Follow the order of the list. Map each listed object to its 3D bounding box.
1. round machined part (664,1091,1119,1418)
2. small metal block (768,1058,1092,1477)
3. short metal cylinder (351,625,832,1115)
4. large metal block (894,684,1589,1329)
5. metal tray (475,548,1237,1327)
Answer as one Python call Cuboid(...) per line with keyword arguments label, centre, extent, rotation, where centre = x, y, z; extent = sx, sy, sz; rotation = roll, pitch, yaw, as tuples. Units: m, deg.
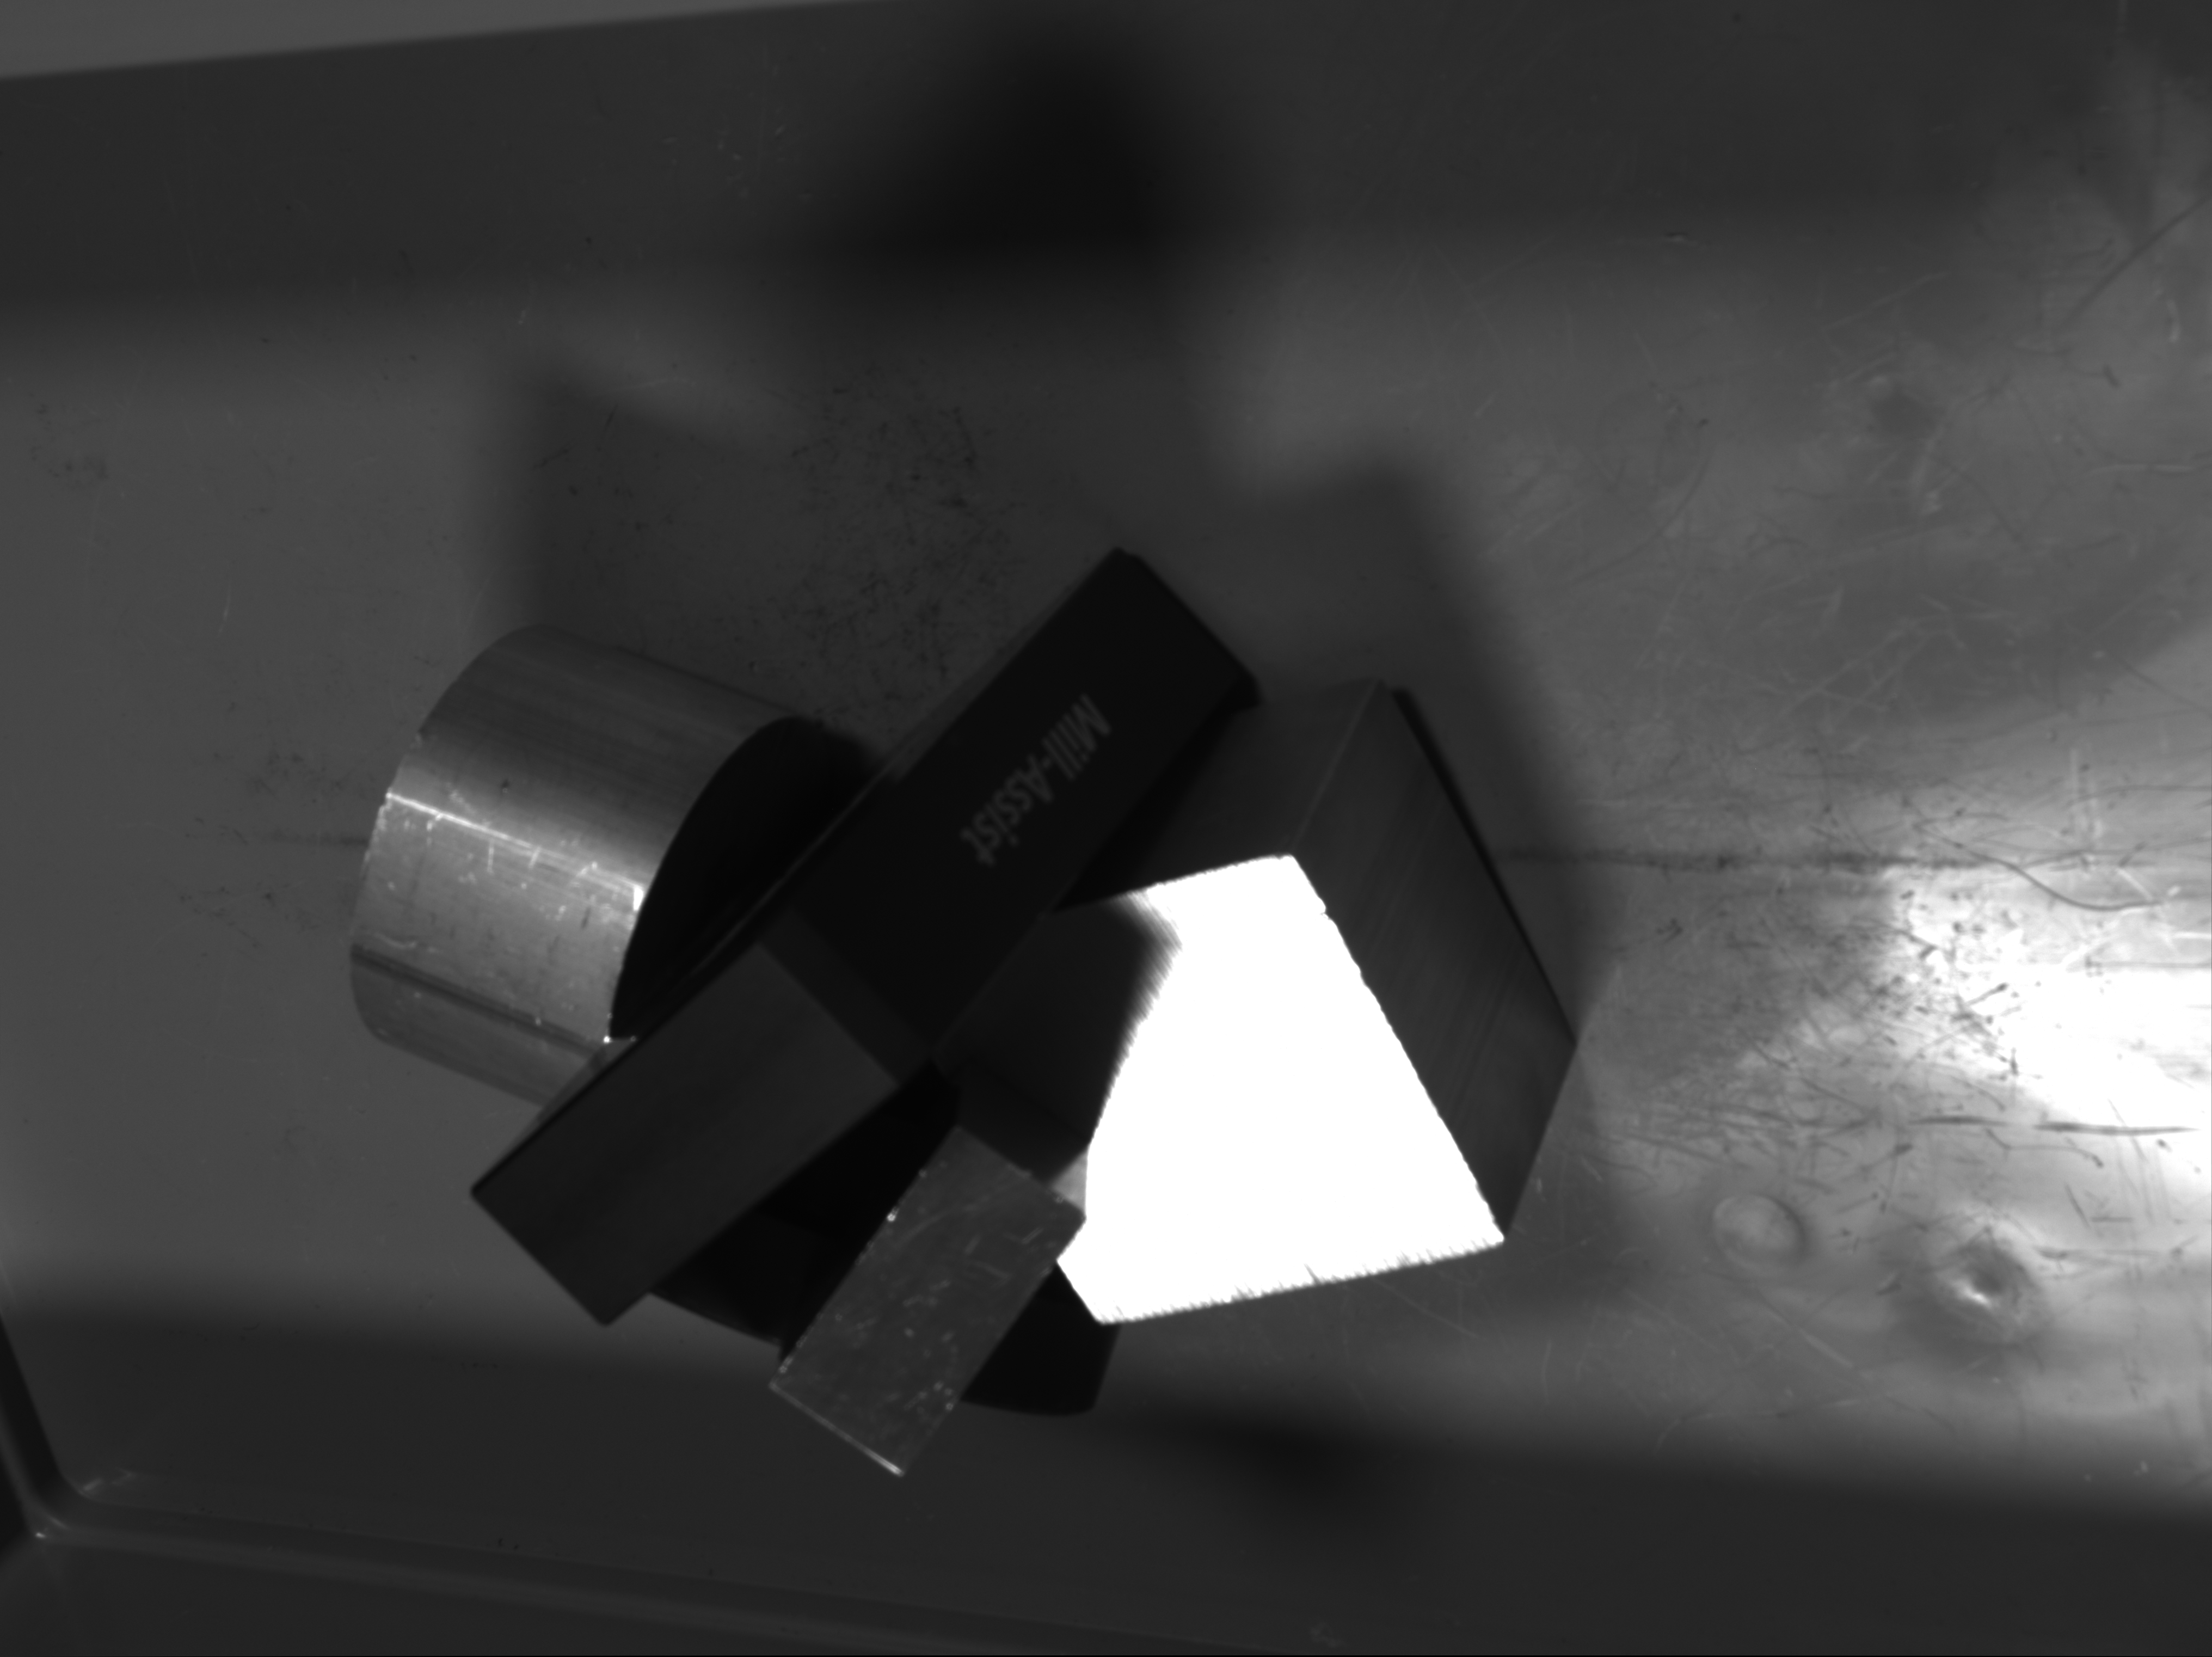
Cuboid(label="round machined part", centre=(-0.042, 0.069, 0.658), extent=(0.098, 0.098, 0.042), rotation=(19, 89, 16))
Cuboid(label="small metal block", centre=(-0.027, 0.069, 0.582), extent=(0.025, 0.050, 0.050), rotation=(35, 96, -5))
Cuboid(label="short metal cylinder", centre=(-0.089, 0.010, 0.645), extent=(0.050, 0.080, 0.080), rotation=(20, 125, 15))
Cuboid(label="large metal block", centre=(0.022, 0.031, 0.612), extent=(0.080, 0.050, 0.080), rotation=(-15, 115, 33))
Cuboid(label="metal tray", centre=(-0.038, 0.015, 0.591), extent=(0.030, 0.130, 0.090), rotation=(46, 128, -6))
